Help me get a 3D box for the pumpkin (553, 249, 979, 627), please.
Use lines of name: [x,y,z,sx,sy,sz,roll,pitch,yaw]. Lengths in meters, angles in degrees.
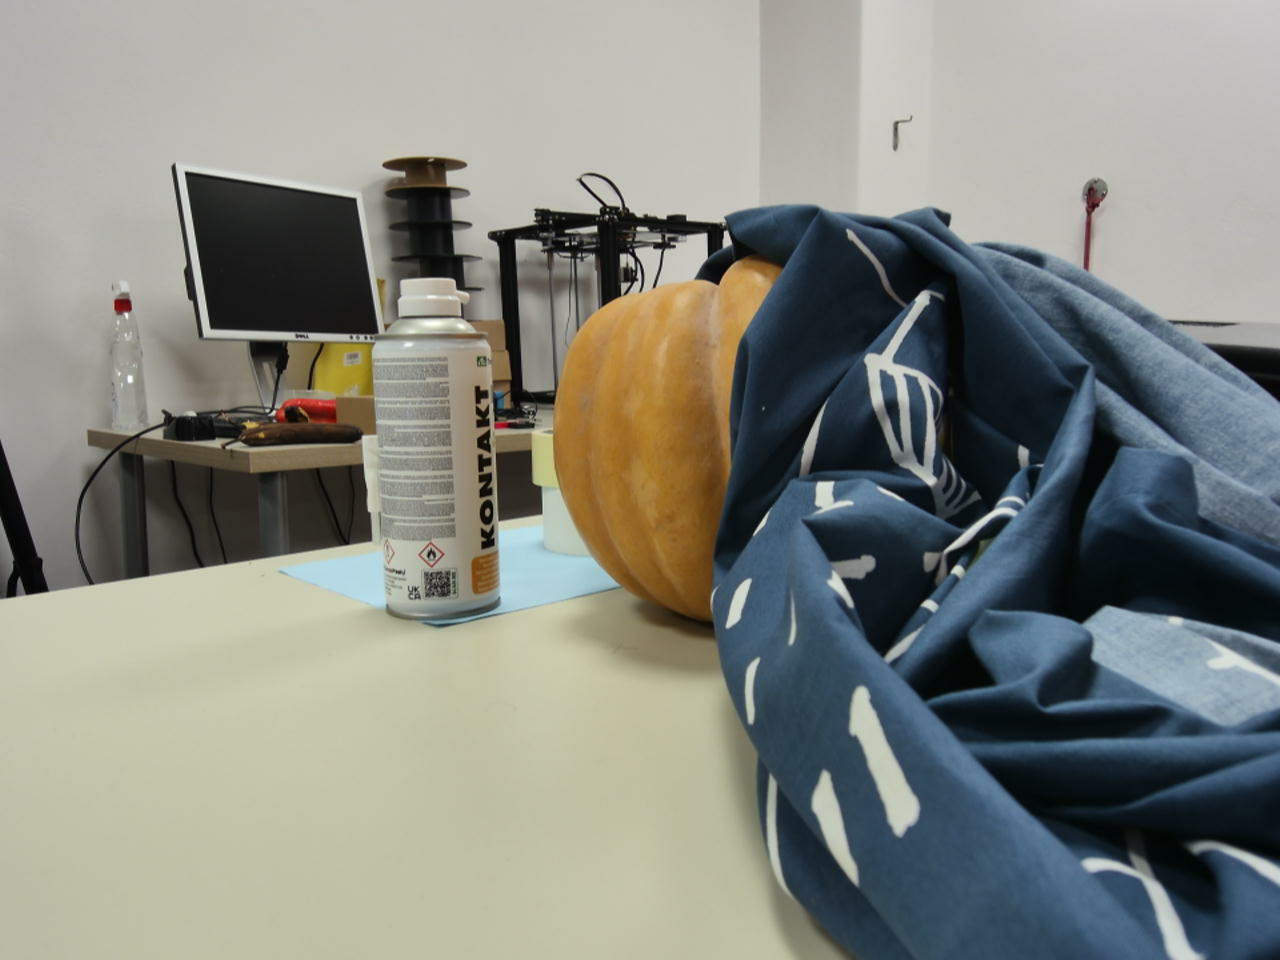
pumpkin: [0.066,-0.020,0.548,0.230,0.194,0.230,1,5,0]
